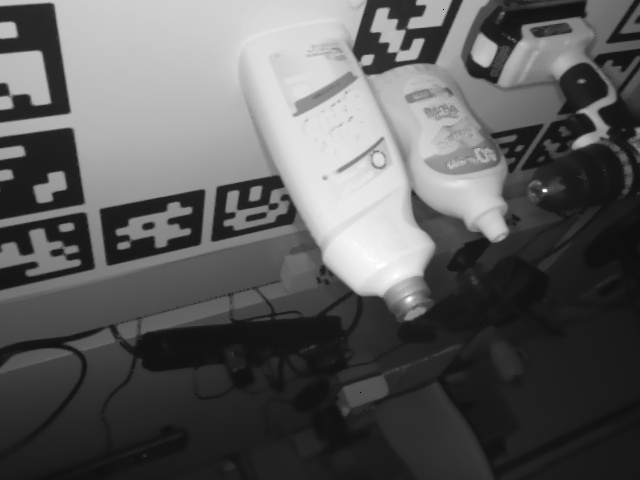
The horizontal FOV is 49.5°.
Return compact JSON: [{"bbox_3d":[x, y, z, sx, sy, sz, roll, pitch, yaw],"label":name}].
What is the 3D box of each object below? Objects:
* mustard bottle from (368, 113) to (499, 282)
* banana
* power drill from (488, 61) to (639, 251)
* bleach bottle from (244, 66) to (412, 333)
[{"bbox_3d":[0.120,-0.041,0.680,0.097,0.192,0.057,-9,146,-20],"label":"mustard bottle"},{"bbox_3d":[0.115,-0.184,0.608,0.200,0.039,0.073,-10,141,-24],"label":"banana"},{"bbox_3d":[0.231,-0.081,0.660,0.186,0.187,0.056,-10,152,-17],"label":"power drill"},{"bbox_3d":[0.017,-0.036,0.577,0.103,0.251,0.067,-15,146,-13],"label":"bleach bottle"}]
